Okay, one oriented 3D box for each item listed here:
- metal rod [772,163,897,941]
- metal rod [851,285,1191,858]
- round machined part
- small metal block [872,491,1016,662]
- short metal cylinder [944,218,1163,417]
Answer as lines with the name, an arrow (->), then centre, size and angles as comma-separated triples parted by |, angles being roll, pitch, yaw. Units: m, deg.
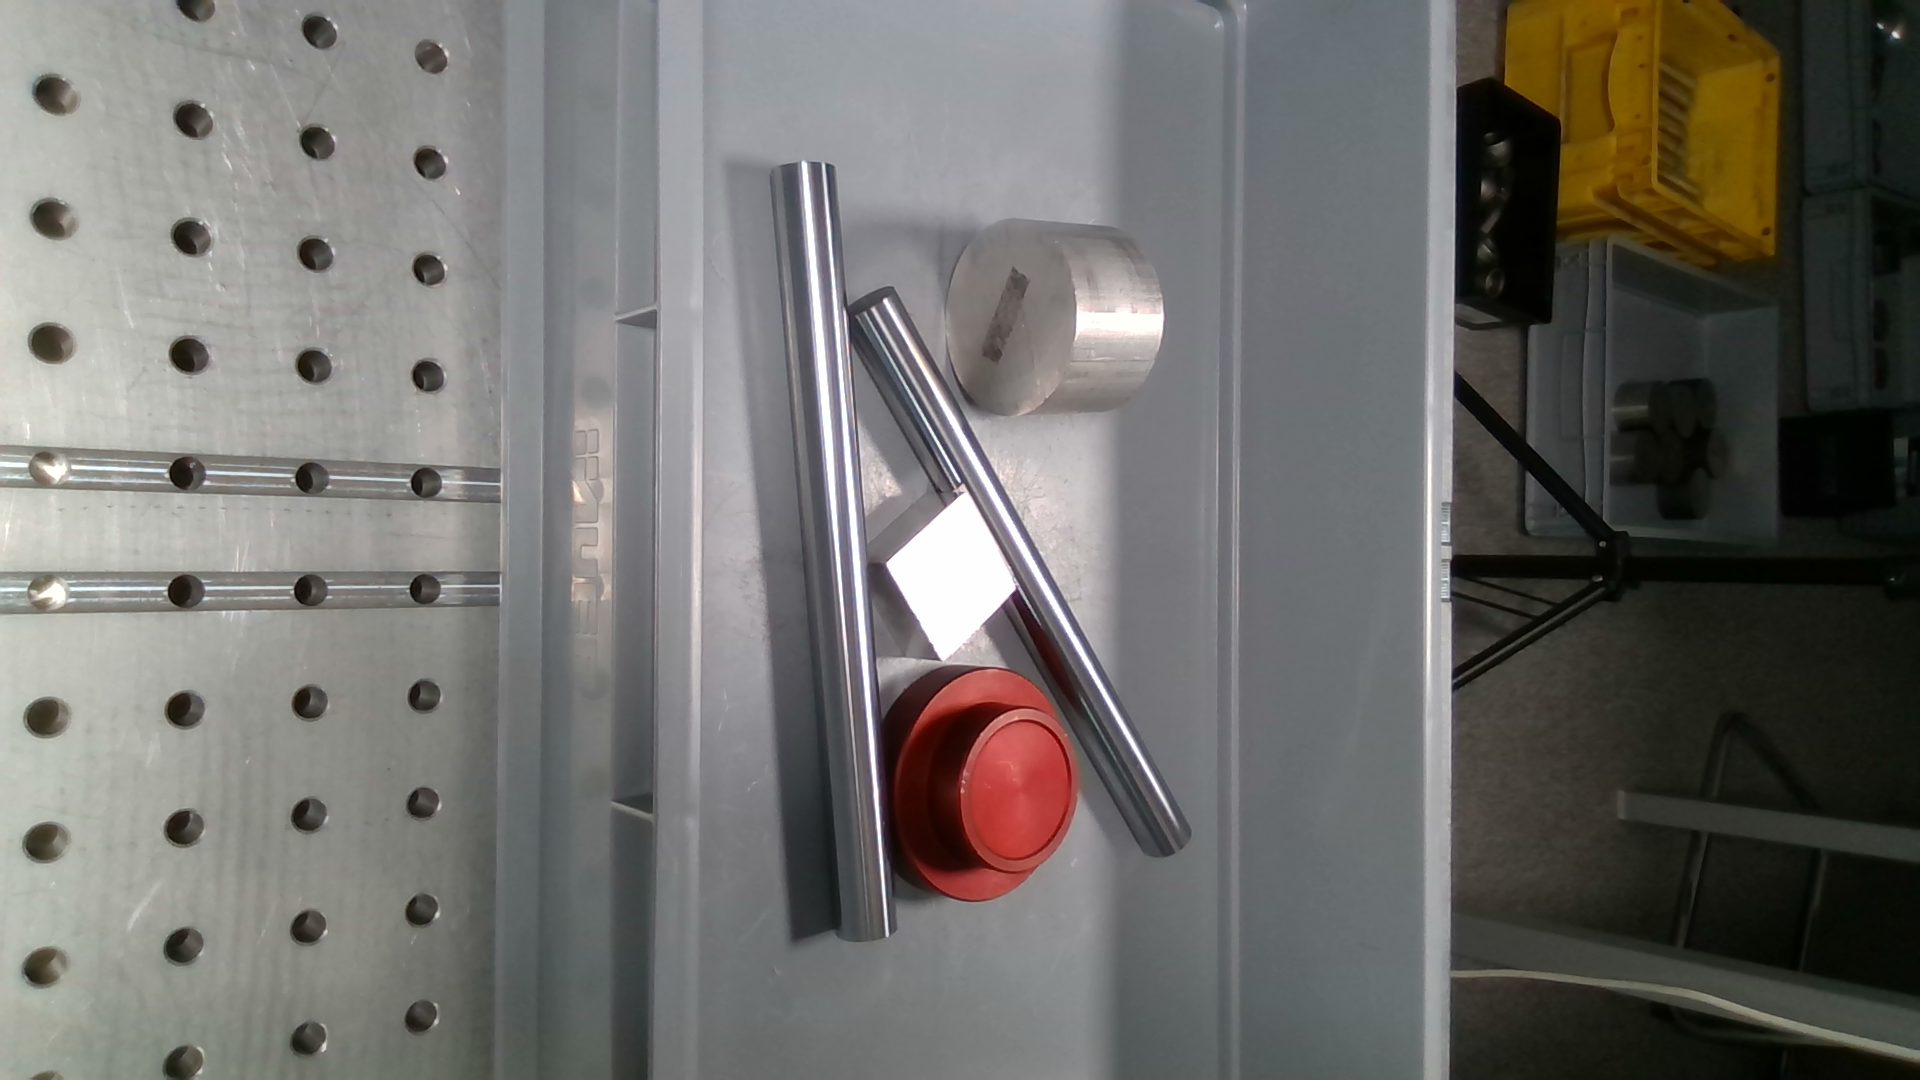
metal rod -> -0.049, 0.007, 0.540 | 0.025, 0.025, 0.300 | -7, 95, -40
metal rod -> 0.031, 0.025, 0.608 | 0.025, 0.025, 0.301 | -45, 117, -31
round machined part -> 0.012, 0.102, 0.579 | 0.098, 0.042, 0.098 | 0, 90, -40
small metal block -> -0.011, 0.015, 0.572 | 0.050, 0.025, 0.050 | -43, 116, -32
short metal cylinder -> 0.038, -0.093, 0.579 | 0.050, 0.080, 0.080 | -7, 94, -40
